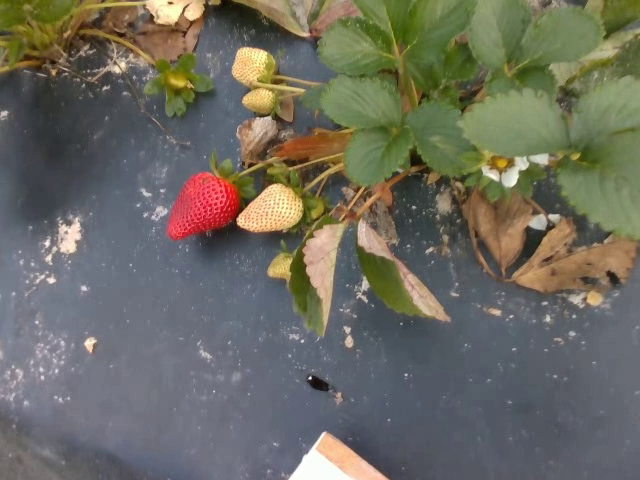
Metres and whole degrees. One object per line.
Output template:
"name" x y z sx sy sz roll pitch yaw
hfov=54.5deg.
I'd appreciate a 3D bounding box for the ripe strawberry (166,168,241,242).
"ripe strawberry" -0.077 -0.021 0.398 0.050 0.059 0.034 26 -29 17
